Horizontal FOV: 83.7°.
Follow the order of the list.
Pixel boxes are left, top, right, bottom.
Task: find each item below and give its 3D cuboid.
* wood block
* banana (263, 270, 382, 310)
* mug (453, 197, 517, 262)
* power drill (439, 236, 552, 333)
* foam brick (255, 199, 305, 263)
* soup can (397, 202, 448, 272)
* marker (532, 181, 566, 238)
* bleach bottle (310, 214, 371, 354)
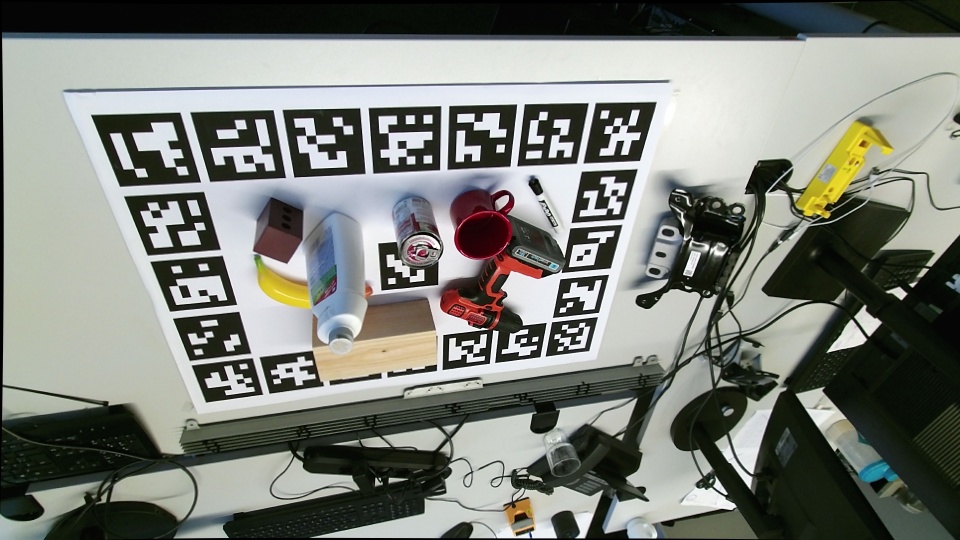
[{"bbox_3d":[-0.185,0.128,0.951,0.207,0.090,0.090,-6,126,-12],"label":"wood block"},{"bbox_3d":[-0.263,0.050,0.897,0.198,0.039,0.074,10,109,-20],"label":"banana"},{"bbox_3d":[0.012,-0.071,0.860,0.117,0.081,0.093,-44,124,13],"label":"mug"},{"bbox_3d":[0.044,0.032,0.971,0.185,0.057,0.187,23,118,-26],"label":"power drill"},{"bbox_3d":[-0.292,-0.057,0.787,0.053,0.078,0.051,26,118,-33],"label":"foam brick"},{"bbox_3d":[-0.090,-0.050,0.826,0.068,0.101,0.068,-8,132,-9],"label":"soup can"},{"bbox_3d":[0.117,-0.103,0.910,0.020,0.019,0.121,-30,128,4],"label":"marker"},{"bbox_3d":[-0.198,0.025,0.764,0.068,0.249,0.102,21,119,-30],"label":"bleach bottle"}]
